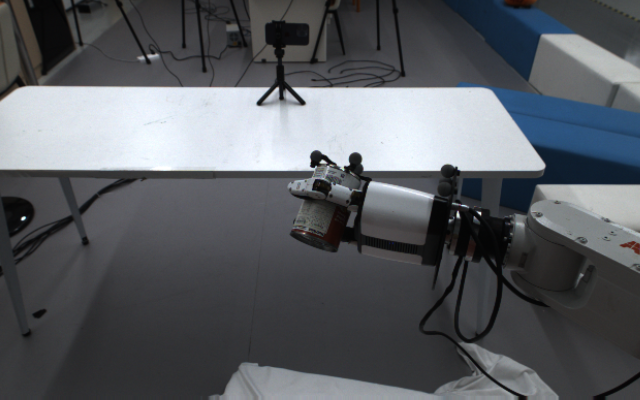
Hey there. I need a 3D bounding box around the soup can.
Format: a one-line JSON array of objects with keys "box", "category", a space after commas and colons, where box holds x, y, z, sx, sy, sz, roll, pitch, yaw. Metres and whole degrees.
[{"box": [0.010, 0.011, 0.648, 0.067, 0.067, 0.101, 16, 74, 19], "category": "soup can"}]
